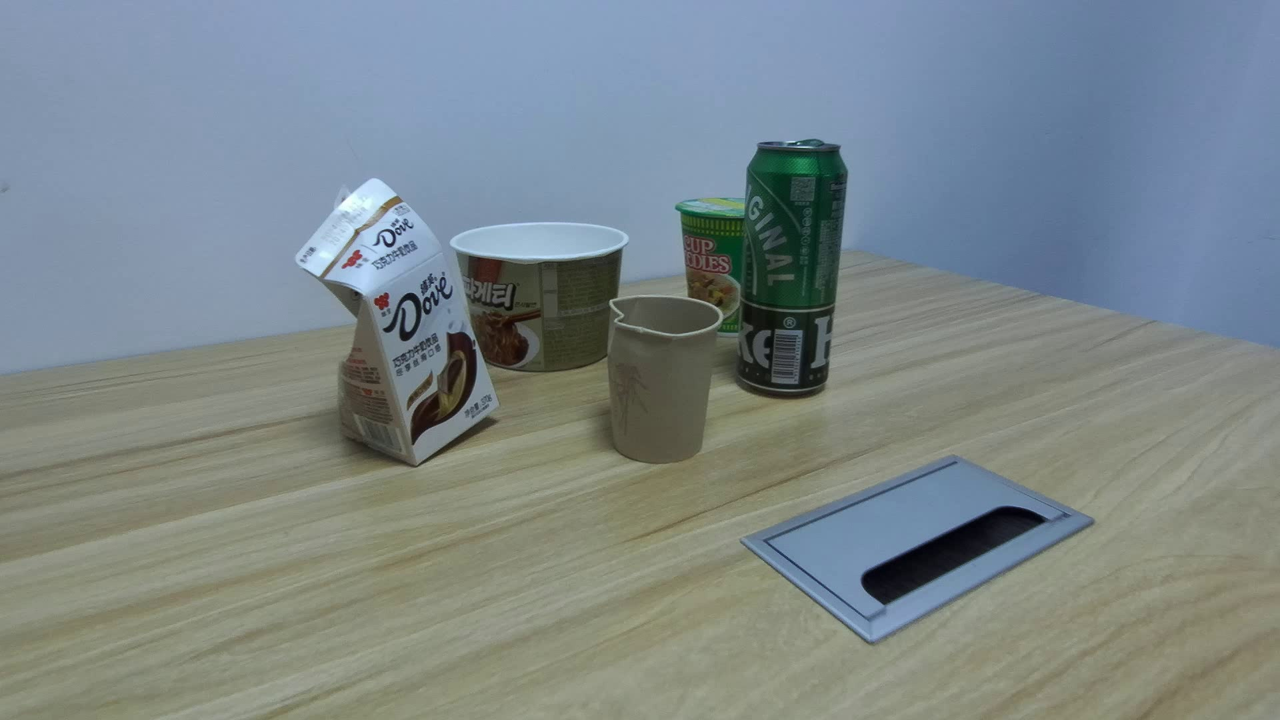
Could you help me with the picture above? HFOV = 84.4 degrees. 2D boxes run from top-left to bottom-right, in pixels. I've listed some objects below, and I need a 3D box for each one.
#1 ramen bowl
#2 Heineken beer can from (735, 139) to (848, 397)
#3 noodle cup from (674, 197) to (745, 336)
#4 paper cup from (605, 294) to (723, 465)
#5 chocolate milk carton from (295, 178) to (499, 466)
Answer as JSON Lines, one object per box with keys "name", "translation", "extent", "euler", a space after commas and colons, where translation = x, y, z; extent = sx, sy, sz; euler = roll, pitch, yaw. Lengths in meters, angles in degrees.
{"name": "ramen bowl", "translation": [-0.079, -0.053, 0.574], "extent": [0.140, 0.095, 0.140], "euler": [1, 20, 0]}
{"name": "Heineken beer can", "translation": [0.104, -0.061, 0.490], "extent": [0.067, 0.169, 0.067], "euler": [1, 18, 0]}
{"name": "noodle cup", "translation": [0.081, -0.079, 0.620], "extent": [0.097, 0.110, 0.097], "euler": [0, 17, 0]}
{"name": "paper cup", "translation": [0.012, 0.011, 0.415], "extent": [0.073, 0.081, 0.069], "euler": [10, 22, 23]}
{"name": "chocolate milk carton", "translation": [-0.145, -0.020, 0.416], "extent": [0.076, 0.156, 0.089], "euler": [8, 36, 30]}
